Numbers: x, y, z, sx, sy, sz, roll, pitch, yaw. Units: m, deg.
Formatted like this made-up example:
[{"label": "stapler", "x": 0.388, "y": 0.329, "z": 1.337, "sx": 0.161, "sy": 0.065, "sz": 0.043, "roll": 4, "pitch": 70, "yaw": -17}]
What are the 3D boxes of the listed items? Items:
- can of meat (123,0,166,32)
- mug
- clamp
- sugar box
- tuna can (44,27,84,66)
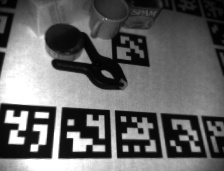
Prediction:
[{"label": "can of meat", "x": 0.080, "y": -0.191, "z": 0.577, "sx": 0.103, "sy": 0.083, "sz": 0.057, "roll": -3, "pitch": 66, "yaw": -20}, {"label": "mug", "x": -0.013, "y": -0.155, "z": 0.521, "sx": 0.093, "sy": 0.081, "sz": 0.117, "roll": 28, "pitch": 63, "yaw": -4}, {"label": "clamp", "x": -0.034, "y": -0.028, "z": 0.492, "sx": 0.165, "sy": 0.036, "sz": 0.122, "roll": 38, "pitch": 56, "yaw": -3}, {"label": "sugar box", "x": -0.103, "y": -0.175, "z": 0.504, "sx": 0.178, "sy": 0.092, "sz": 0.045, "roll": -34, "pitch": 77, "yaw": -29}, {"label": "tuna can", "x": -0.109, "y": -0.086, "z": 0.488, "sx": 0.086, "sy": 0.033, "sz": 0.085, "roll": 7, "pitch": 66, "yaw": -15}]
